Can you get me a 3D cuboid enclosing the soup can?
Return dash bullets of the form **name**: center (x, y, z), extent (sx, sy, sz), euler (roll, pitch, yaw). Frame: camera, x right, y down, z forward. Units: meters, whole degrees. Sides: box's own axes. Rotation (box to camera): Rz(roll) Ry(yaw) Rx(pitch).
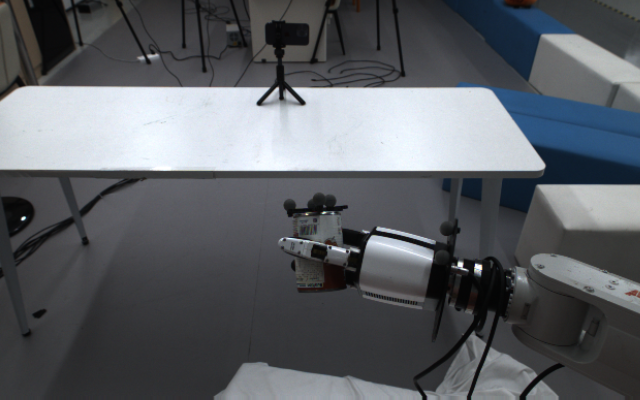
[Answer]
- **soup can**: center (0.001, 0.069, 0.644), extent (0.067, 0.101, 0.067), euler (-5, -5, 0)
